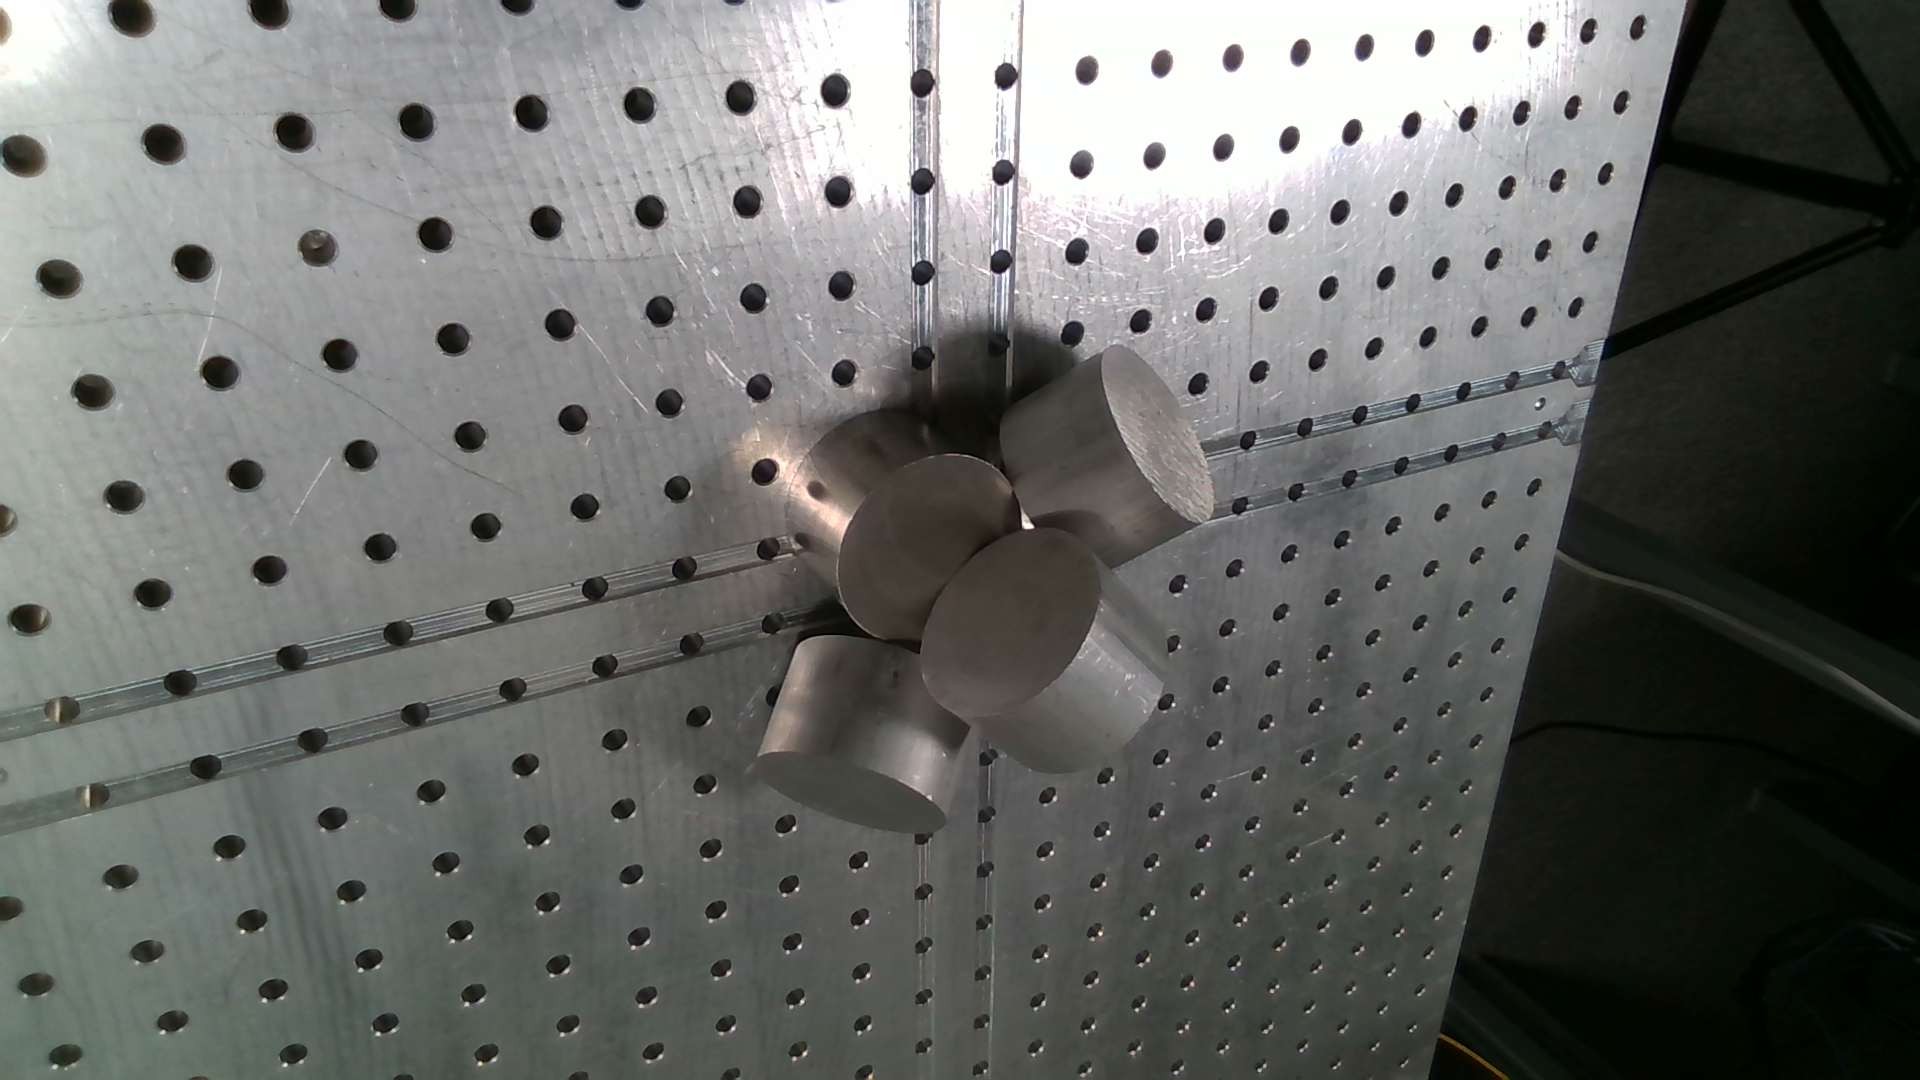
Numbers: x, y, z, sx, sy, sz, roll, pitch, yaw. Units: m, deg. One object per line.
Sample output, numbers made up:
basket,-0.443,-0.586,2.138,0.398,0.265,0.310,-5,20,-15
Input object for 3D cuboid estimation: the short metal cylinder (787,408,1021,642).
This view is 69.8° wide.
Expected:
short metal cylinder,-0.023,-0.006,0.549,0.080,0.050,0.080,-14,122,-25

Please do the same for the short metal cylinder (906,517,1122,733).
short metal cylinder,0.023,0.037,0.601,0.080,0.050,0.080,-14,122,-25

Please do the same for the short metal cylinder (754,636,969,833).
short metal cylinder,-0.038,0.080,0.559,0.080,0.080,0.050,42,54,-39

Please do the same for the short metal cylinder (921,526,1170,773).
short metal cylinder,0.032,0.042,0.524,0.080,0.080,0.050,-49,129,0

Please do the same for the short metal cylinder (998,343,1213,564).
short metal cylinder,0.060,-0.032,0.558,0.050,0.080,0.080,-29,136,29
